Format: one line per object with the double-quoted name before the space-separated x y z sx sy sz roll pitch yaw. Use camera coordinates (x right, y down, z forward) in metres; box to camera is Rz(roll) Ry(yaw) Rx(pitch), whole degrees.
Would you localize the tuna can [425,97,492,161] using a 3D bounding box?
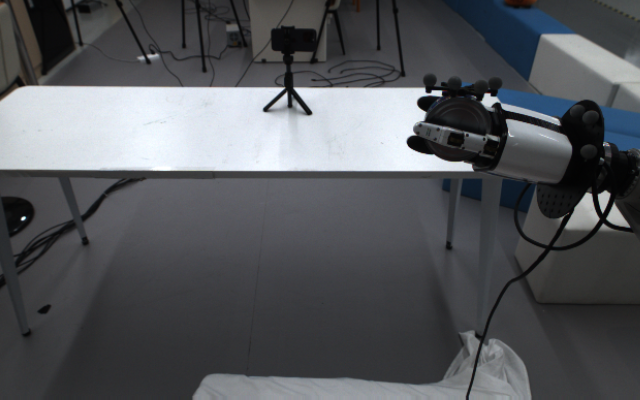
"tuna can" 0.180 -0.098 0.637 0.085 0.085 0.034 9 24 10
